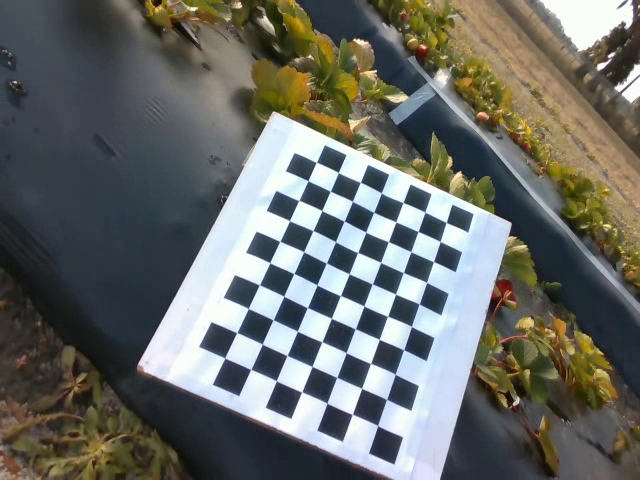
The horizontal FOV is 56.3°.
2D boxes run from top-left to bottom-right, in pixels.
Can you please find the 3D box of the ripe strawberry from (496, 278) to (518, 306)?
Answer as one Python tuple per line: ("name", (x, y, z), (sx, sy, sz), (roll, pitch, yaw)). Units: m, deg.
("ripe strawberry", (0.308, 0.093, 0.980), (0.048, 0.065, 0.050), (-22, -18, -21))
